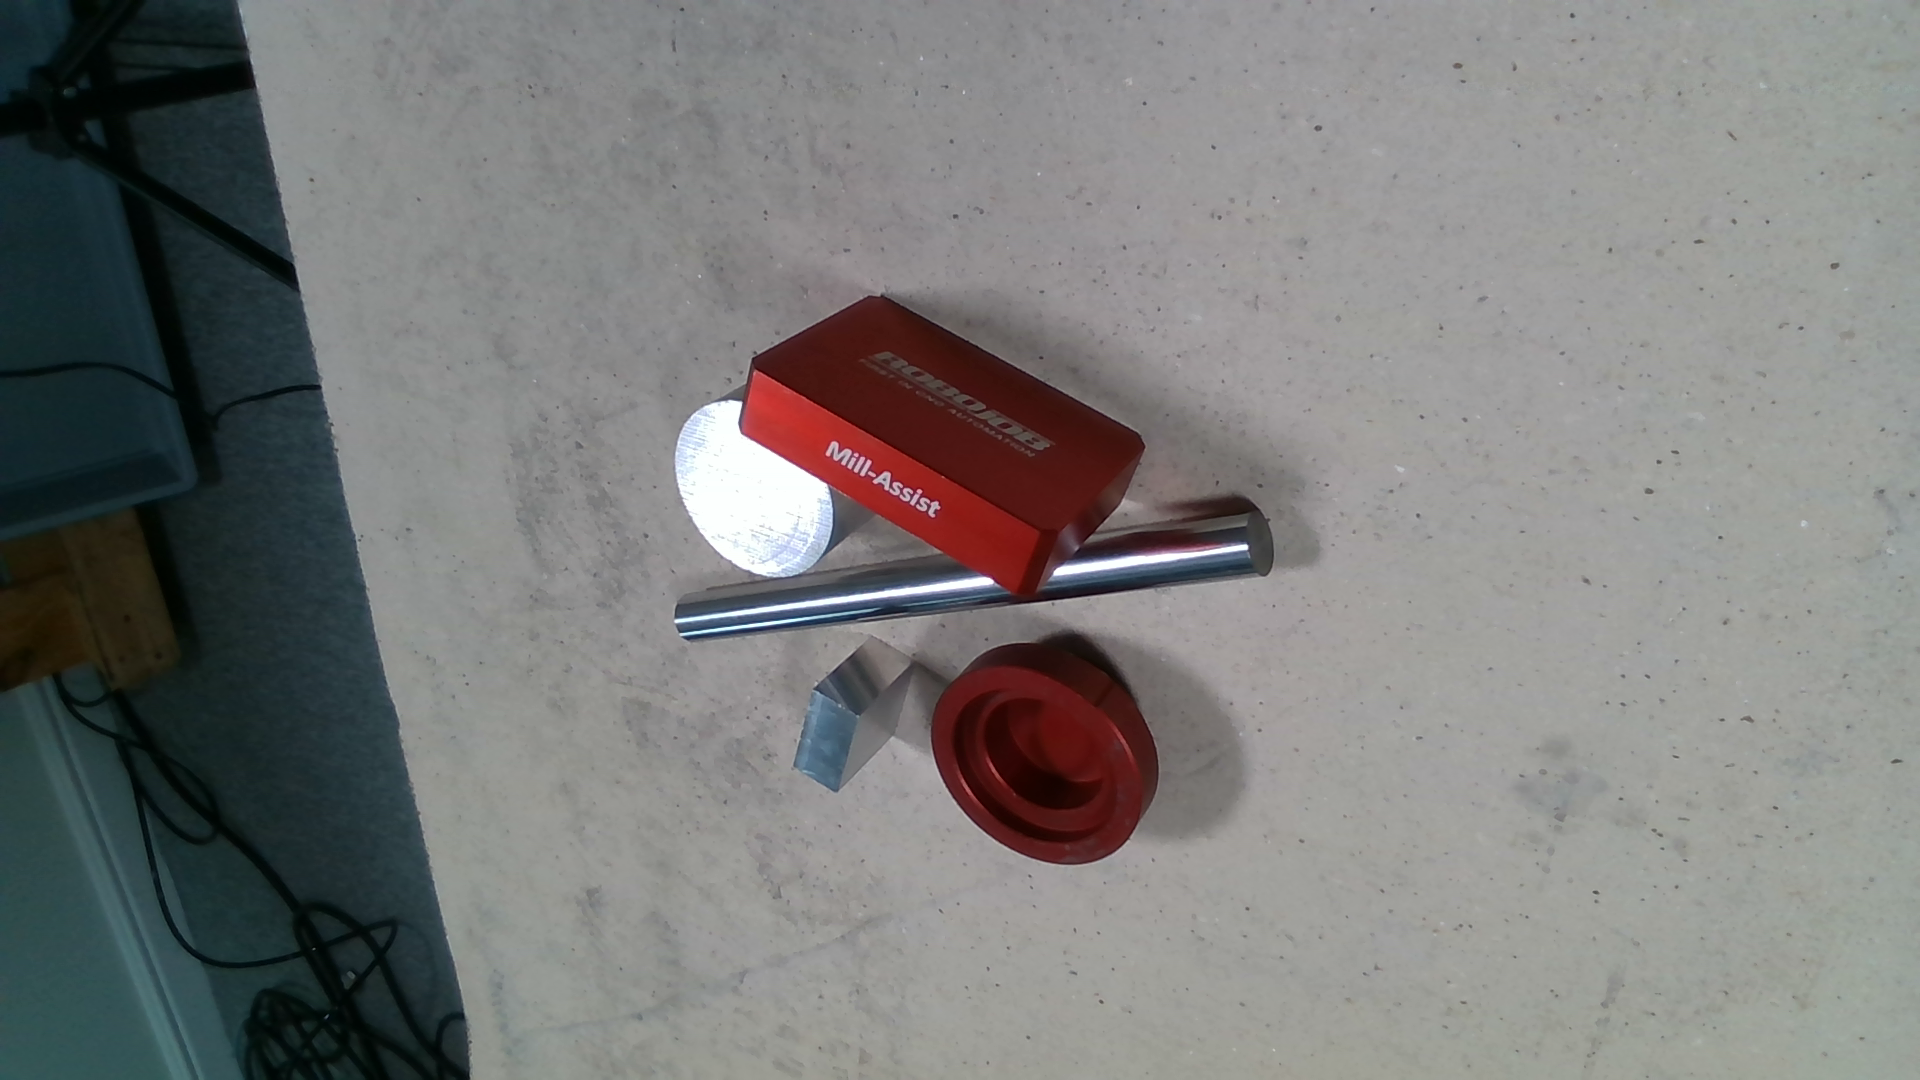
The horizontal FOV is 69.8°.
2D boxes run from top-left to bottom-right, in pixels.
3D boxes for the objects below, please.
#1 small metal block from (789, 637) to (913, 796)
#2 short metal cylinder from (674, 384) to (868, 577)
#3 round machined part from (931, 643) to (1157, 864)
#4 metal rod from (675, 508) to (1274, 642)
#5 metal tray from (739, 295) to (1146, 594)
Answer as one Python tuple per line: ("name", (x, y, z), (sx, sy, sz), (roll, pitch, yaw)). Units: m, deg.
("small metal block", (-0.050, 0.081, 0.636), (0.025, 0.050, 0.050), (29, 127, 15))
("short metal cylinder", (-0.076, -0.031, 0.593), (0.080, 0.050, 0.080), (14, 122, 25))
("round machined part", (0.040, 0.087, 0.592), (0.098, 0.042, 0.098), (14, 122, 25))
("metal rod", (-0.010, 0.019, 0.598), (0.300, 0.025, 0.025), (-9, 110, 35))
("metal tray", (-0.006, -0.040, 0.520), (0.130, 0.090, 0.030), (30, 127, 14))
